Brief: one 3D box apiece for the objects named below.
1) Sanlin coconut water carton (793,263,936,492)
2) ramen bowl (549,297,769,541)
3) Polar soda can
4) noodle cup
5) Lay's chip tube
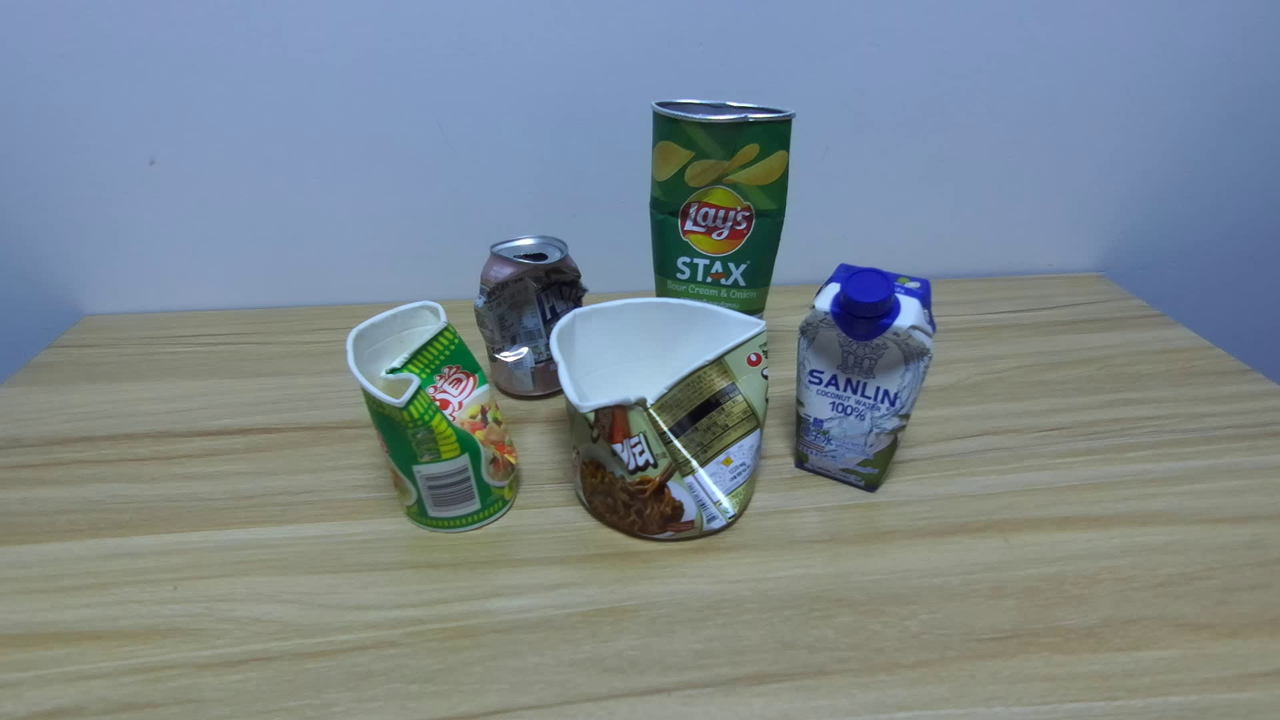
[{"bbox_3d":[0.131,0.007,0.421,0.077,0.142,0.058,16,40,24],"label":"Sanlin coconut water carton"},{"bbox_3d":[0.014,0.029,0.426,0.137,0.098,0.137,0,31,1],"label":"ramen bowl"},{"bbox_3d":[-0.076,-0.032,0.517,0.070,0.114,0.074,8,36,4],"label":"Polar soda can"},{"bbox_3d":[-0.113,0.034,0.405,0.075,0.122,0.083,10,41,31],"label":"noodle cup"},{"bbox_3d":[0.051,-0.073,0.494,0.075,0.199,0.068,-13,33,-20],"label":"Lay's chip tube"}]
